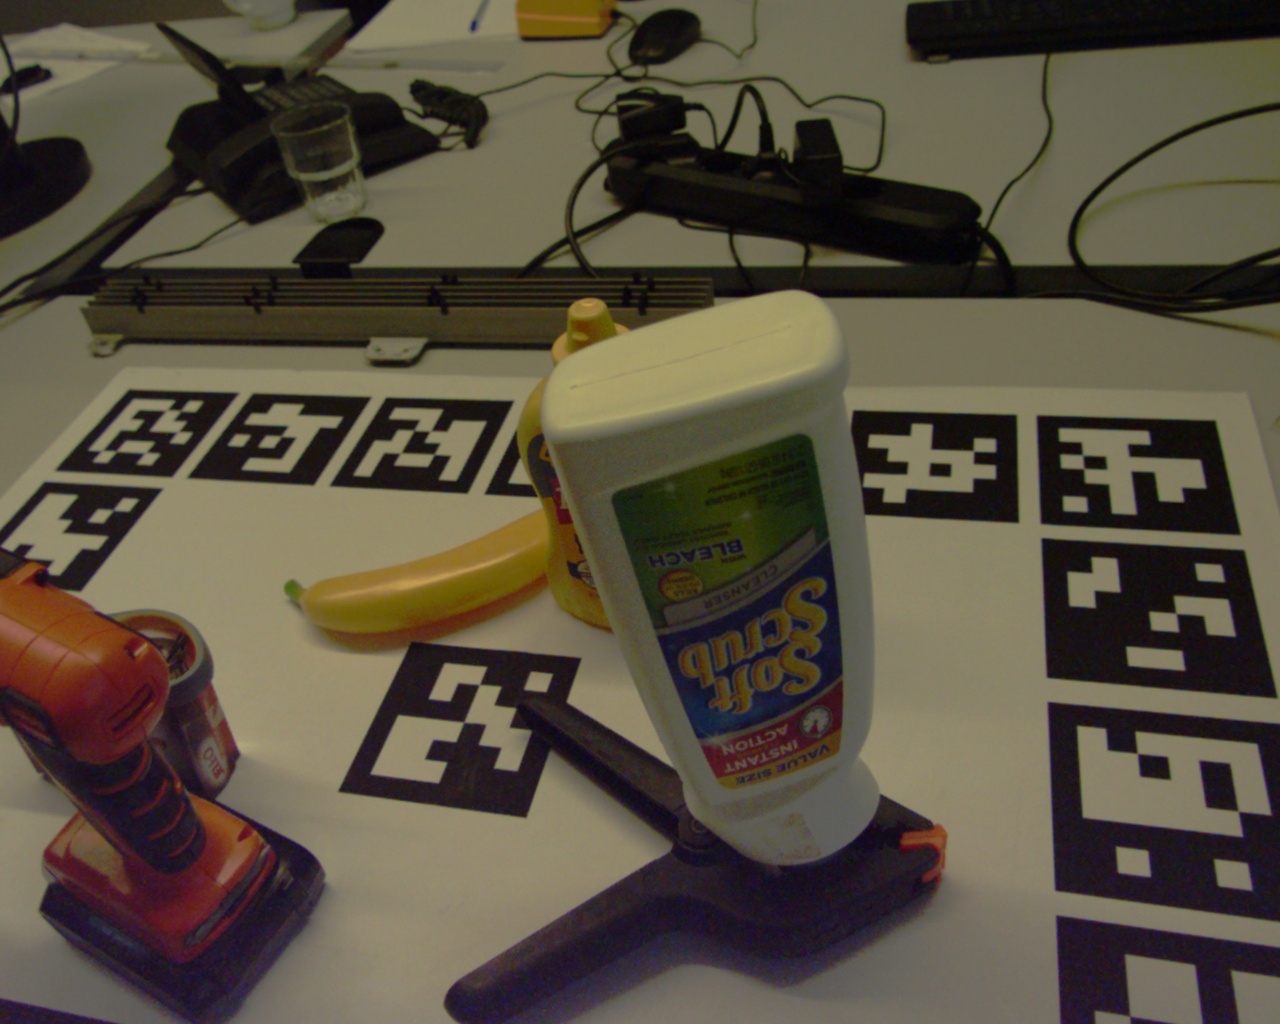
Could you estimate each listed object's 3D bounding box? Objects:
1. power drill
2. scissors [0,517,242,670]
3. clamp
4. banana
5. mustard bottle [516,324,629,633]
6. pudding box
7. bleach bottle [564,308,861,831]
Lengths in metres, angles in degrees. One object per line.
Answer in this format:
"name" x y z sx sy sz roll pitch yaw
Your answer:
"power drill" -0.249 0.097 0.493 0.187 0.186 0.057 11 38 27
"scissors" -0.293 0.041 0.584 0.205 0.016 0.087 26 57 29
"clamp" 0.025 0.134 0.527 0.204 0.036 0.165 0 44 9
"banana" -0.112 0.015 0.702 0.196 0.038 0.075 -24 26 -14
"mustard bottle" -0.019 -0.018 0.620 0.097 0.190 0.058 15 46 24
"pudding box" -0.278 0.094 0.618 0.115 0.089 0.038 7 37 18
"bleach bottle" 0.049 0.048 0.461 0.103 0.249 0.068 -14 37 6
